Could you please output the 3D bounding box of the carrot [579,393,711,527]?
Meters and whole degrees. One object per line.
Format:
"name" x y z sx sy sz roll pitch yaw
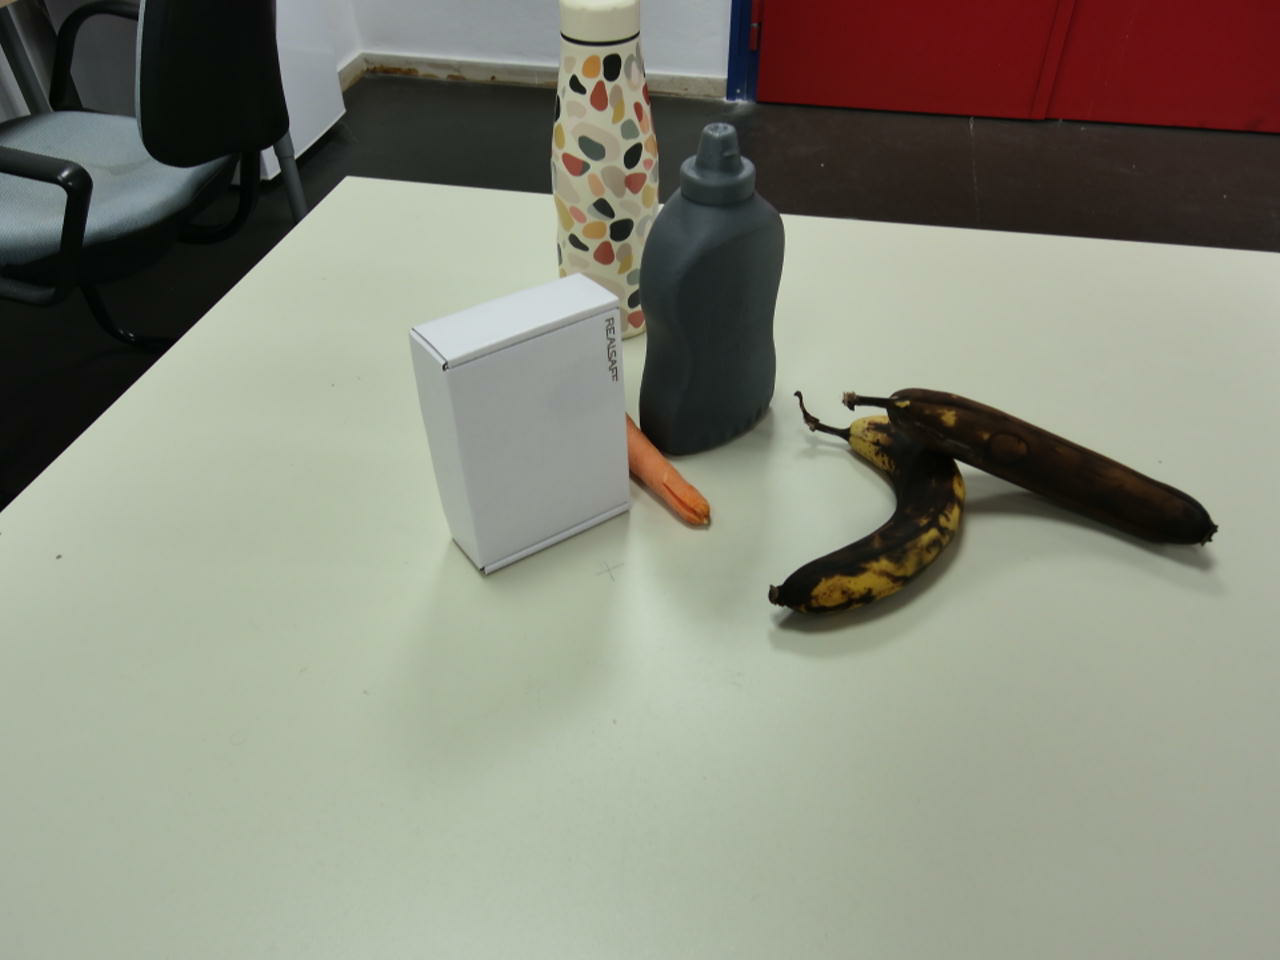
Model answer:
"carrot" 0.001 -0.017 0.647 0.030 0.032 0.136 -22 44 -25
